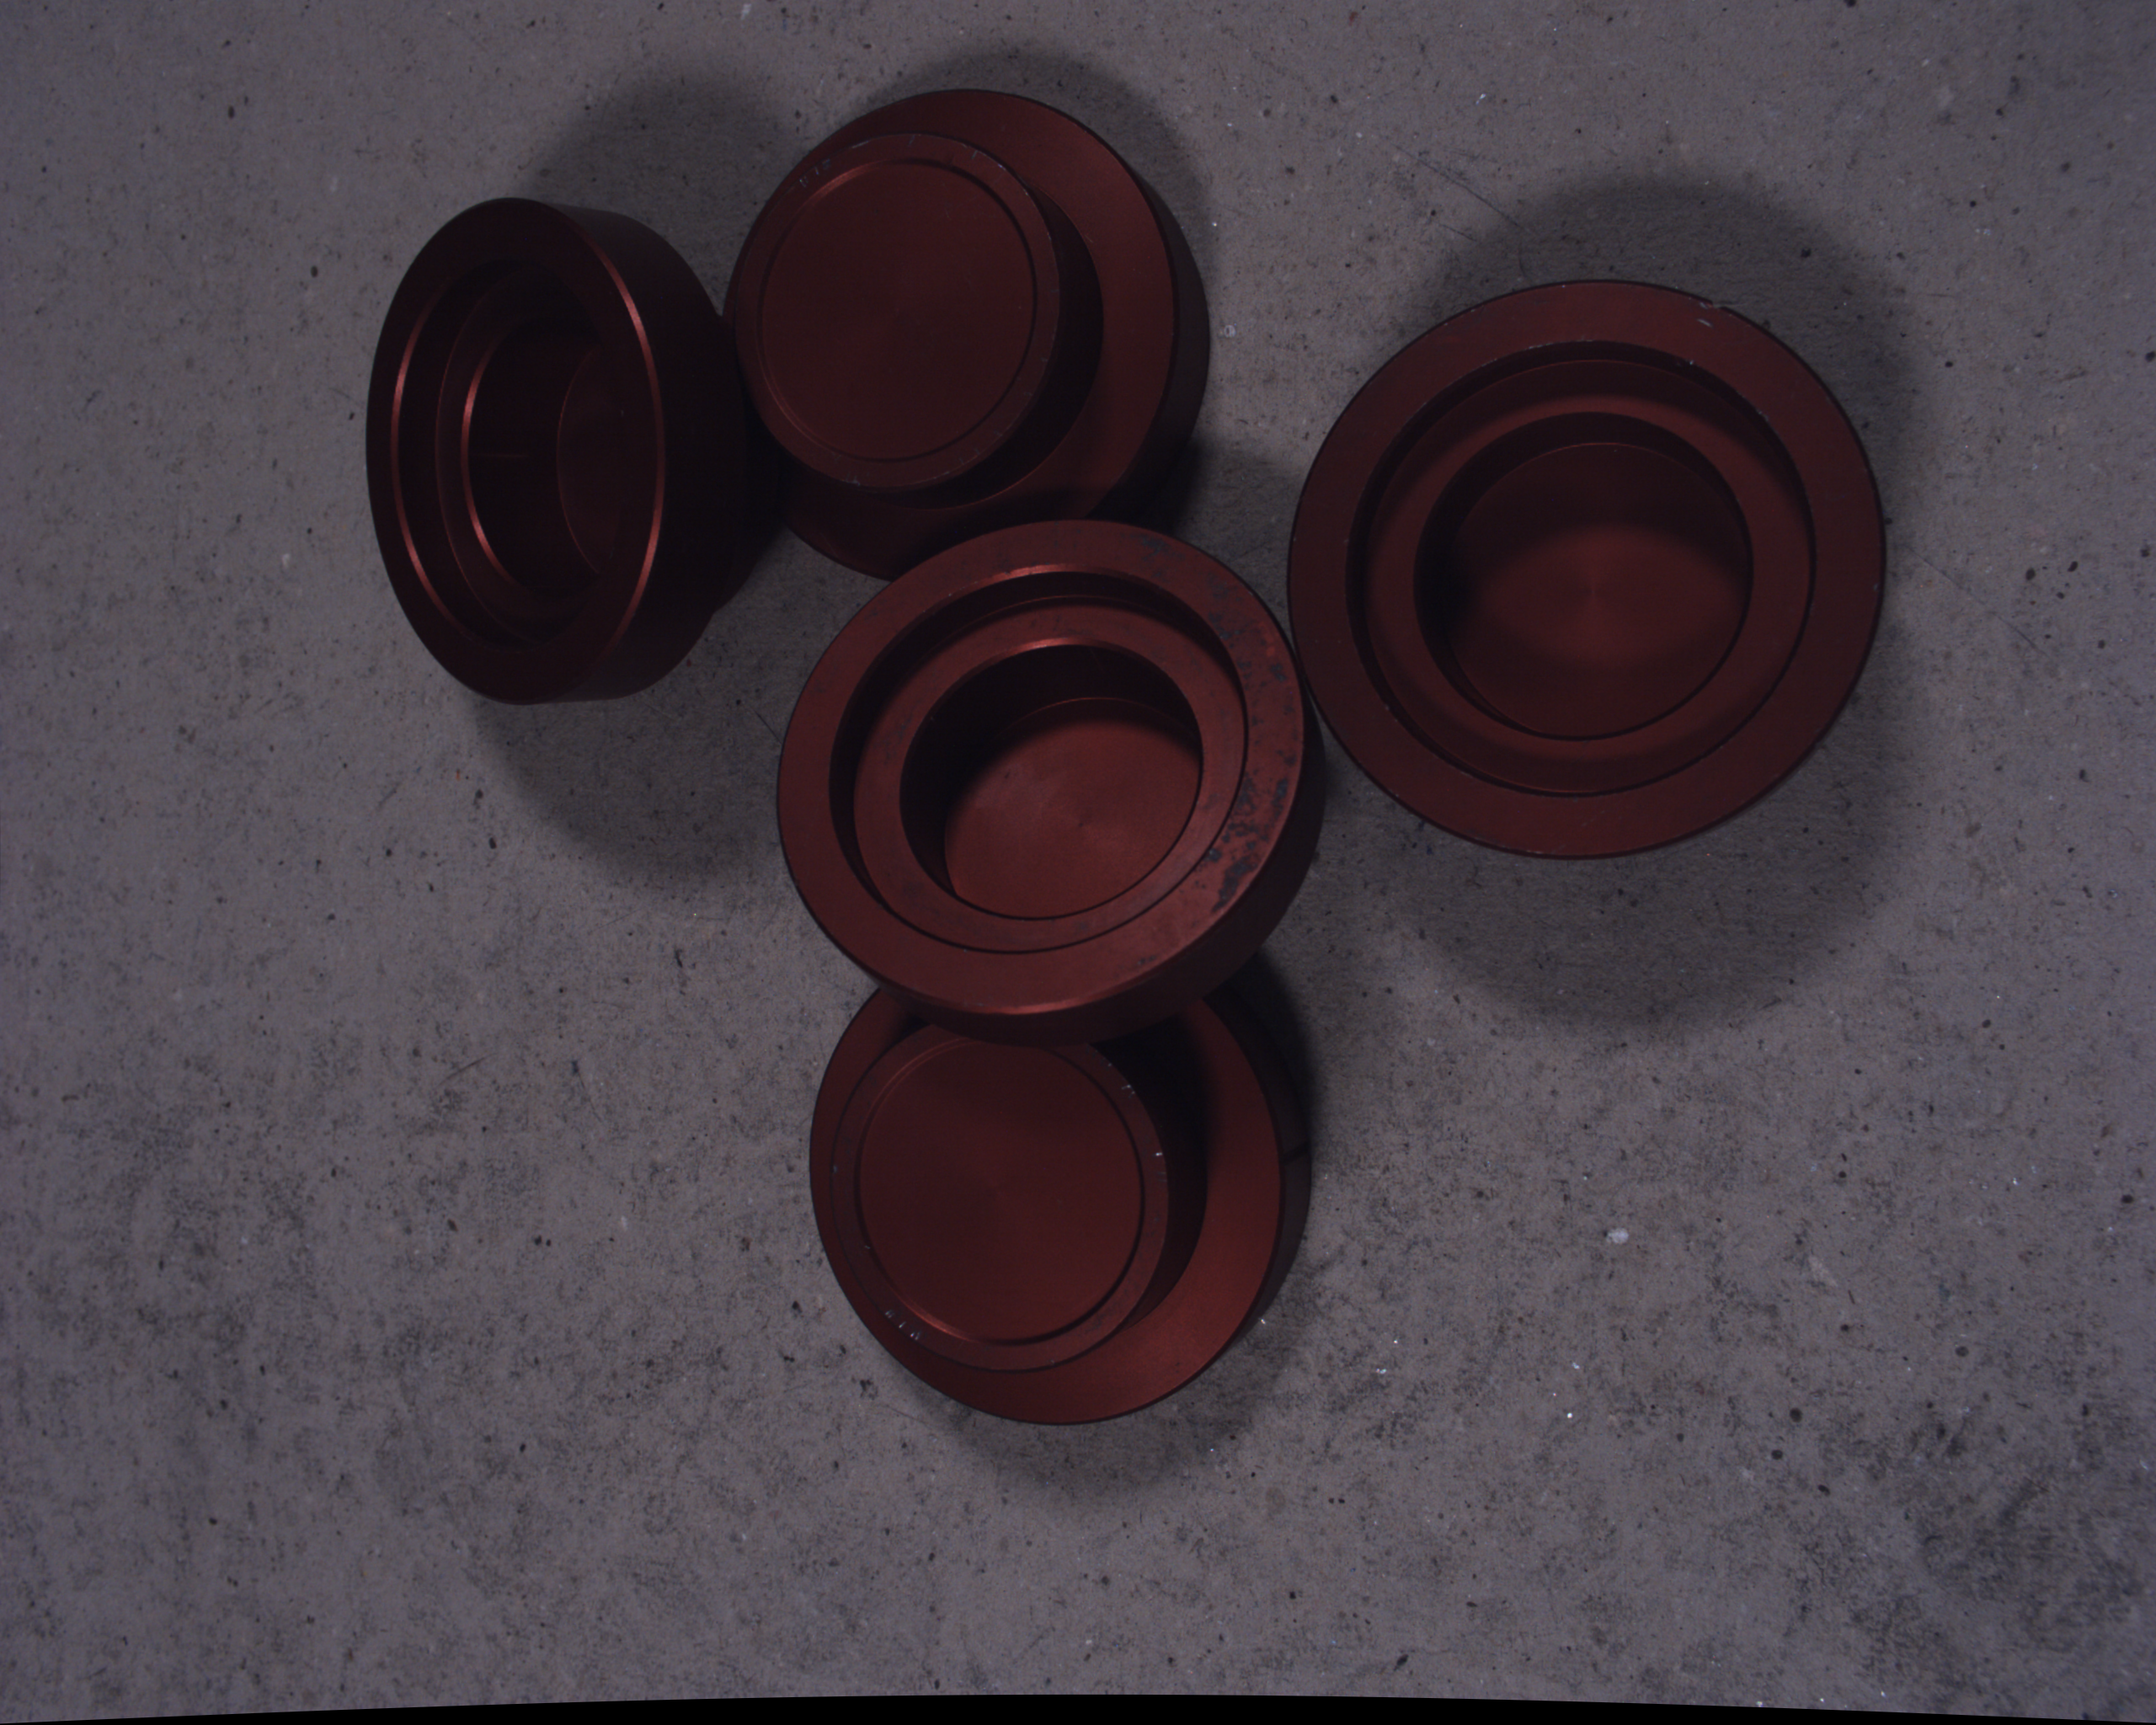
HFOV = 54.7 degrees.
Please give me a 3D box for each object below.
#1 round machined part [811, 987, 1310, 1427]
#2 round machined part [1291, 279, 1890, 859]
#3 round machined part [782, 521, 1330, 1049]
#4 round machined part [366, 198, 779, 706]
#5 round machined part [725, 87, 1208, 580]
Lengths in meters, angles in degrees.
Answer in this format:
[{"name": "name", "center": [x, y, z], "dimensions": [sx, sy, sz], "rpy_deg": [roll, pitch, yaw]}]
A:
[{"name": "round machined part", "center": [-0.008, 0.060, 0.402], "dimensions": [0.098, 0.042, 0.097], "rpy_deg": [0, 90, 19]}, {"name": "round machined part", "center": [0.090, -0.049, 0.369], "dimensions": [0.098, 0.042, 0.097], "rpy_deg": [0, 90, 19]}, {"name": "round machined part", "center": [-0.002, -0.011, 0.390], "dimensions": [0.098, 0.042, 0.098], "rpy_deg": [-6, 65, 14]}, {"name": "round machined part", "center": [-0.099, -0.082, 0.423], "dimensions": [0.098, 0.042, 0.097], "rpy_deg": [7, 102, 40]}, {"name": "round machined part", "center": [-0.027, -0.104, 0.409], "dimensions": [0.098, 0.042, 0.097], "rpy_deg": [0, 90, 19]}]
